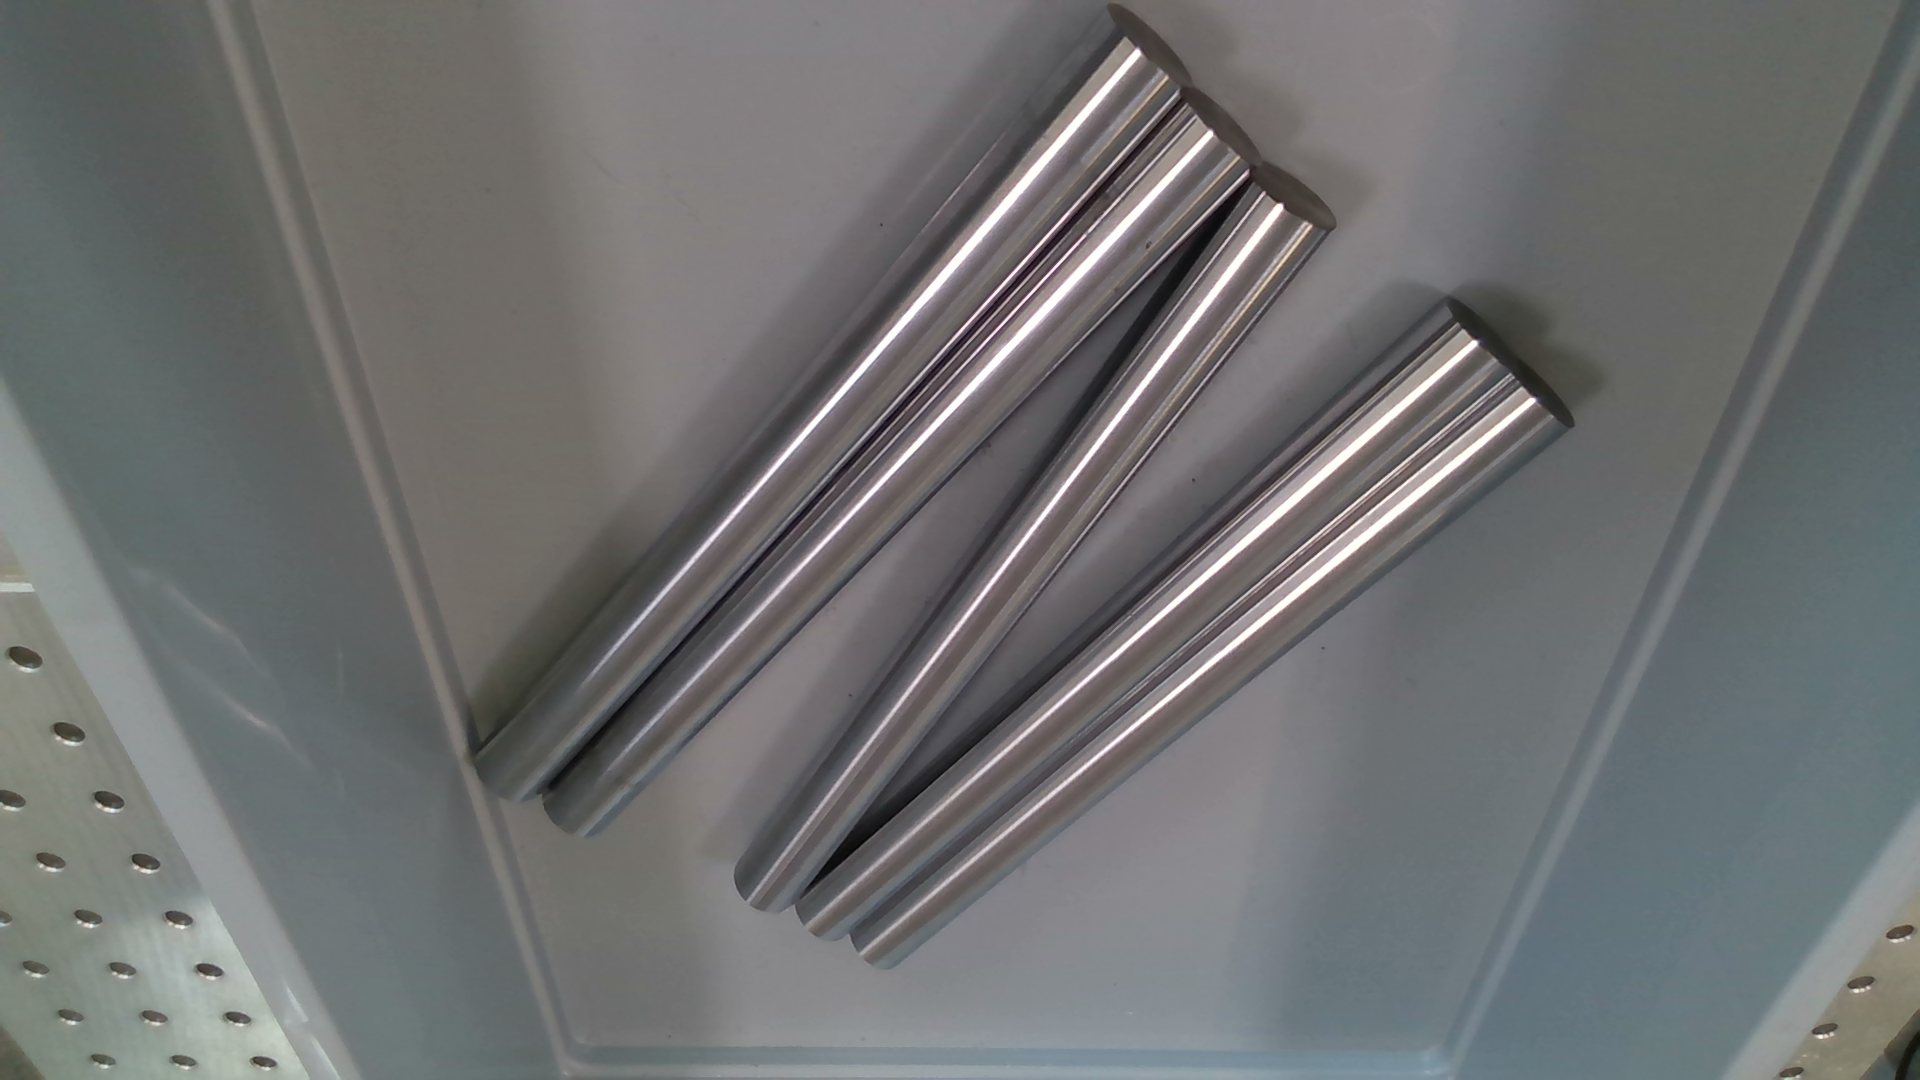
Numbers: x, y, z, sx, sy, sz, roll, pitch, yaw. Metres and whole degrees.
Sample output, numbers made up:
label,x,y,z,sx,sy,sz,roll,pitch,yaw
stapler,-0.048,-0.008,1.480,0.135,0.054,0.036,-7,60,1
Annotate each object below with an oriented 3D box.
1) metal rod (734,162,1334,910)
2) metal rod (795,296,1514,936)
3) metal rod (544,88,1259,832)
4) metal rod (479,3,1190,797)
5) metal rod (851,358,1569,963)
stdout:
label,x,y,z,sx,sy,sz,roll,pitch,yaw
metal rod,0.004,0.020,0.405,0.025,0.025,0.301,23,126,-18
metal rod,0.040,0.040,0.422,0.025,0.025,0.301,30,124,-23
metal rod,-0.035,-0.003,0.385,0.025,0.025,0.301,31,124,-23
metal rod,-0.052,-0.017,0.373,0.025,0.025,0.301,31,124,-23
metal rod,0.059,0.053,0.433,0.025,0.025,0.301,30,124,-23
